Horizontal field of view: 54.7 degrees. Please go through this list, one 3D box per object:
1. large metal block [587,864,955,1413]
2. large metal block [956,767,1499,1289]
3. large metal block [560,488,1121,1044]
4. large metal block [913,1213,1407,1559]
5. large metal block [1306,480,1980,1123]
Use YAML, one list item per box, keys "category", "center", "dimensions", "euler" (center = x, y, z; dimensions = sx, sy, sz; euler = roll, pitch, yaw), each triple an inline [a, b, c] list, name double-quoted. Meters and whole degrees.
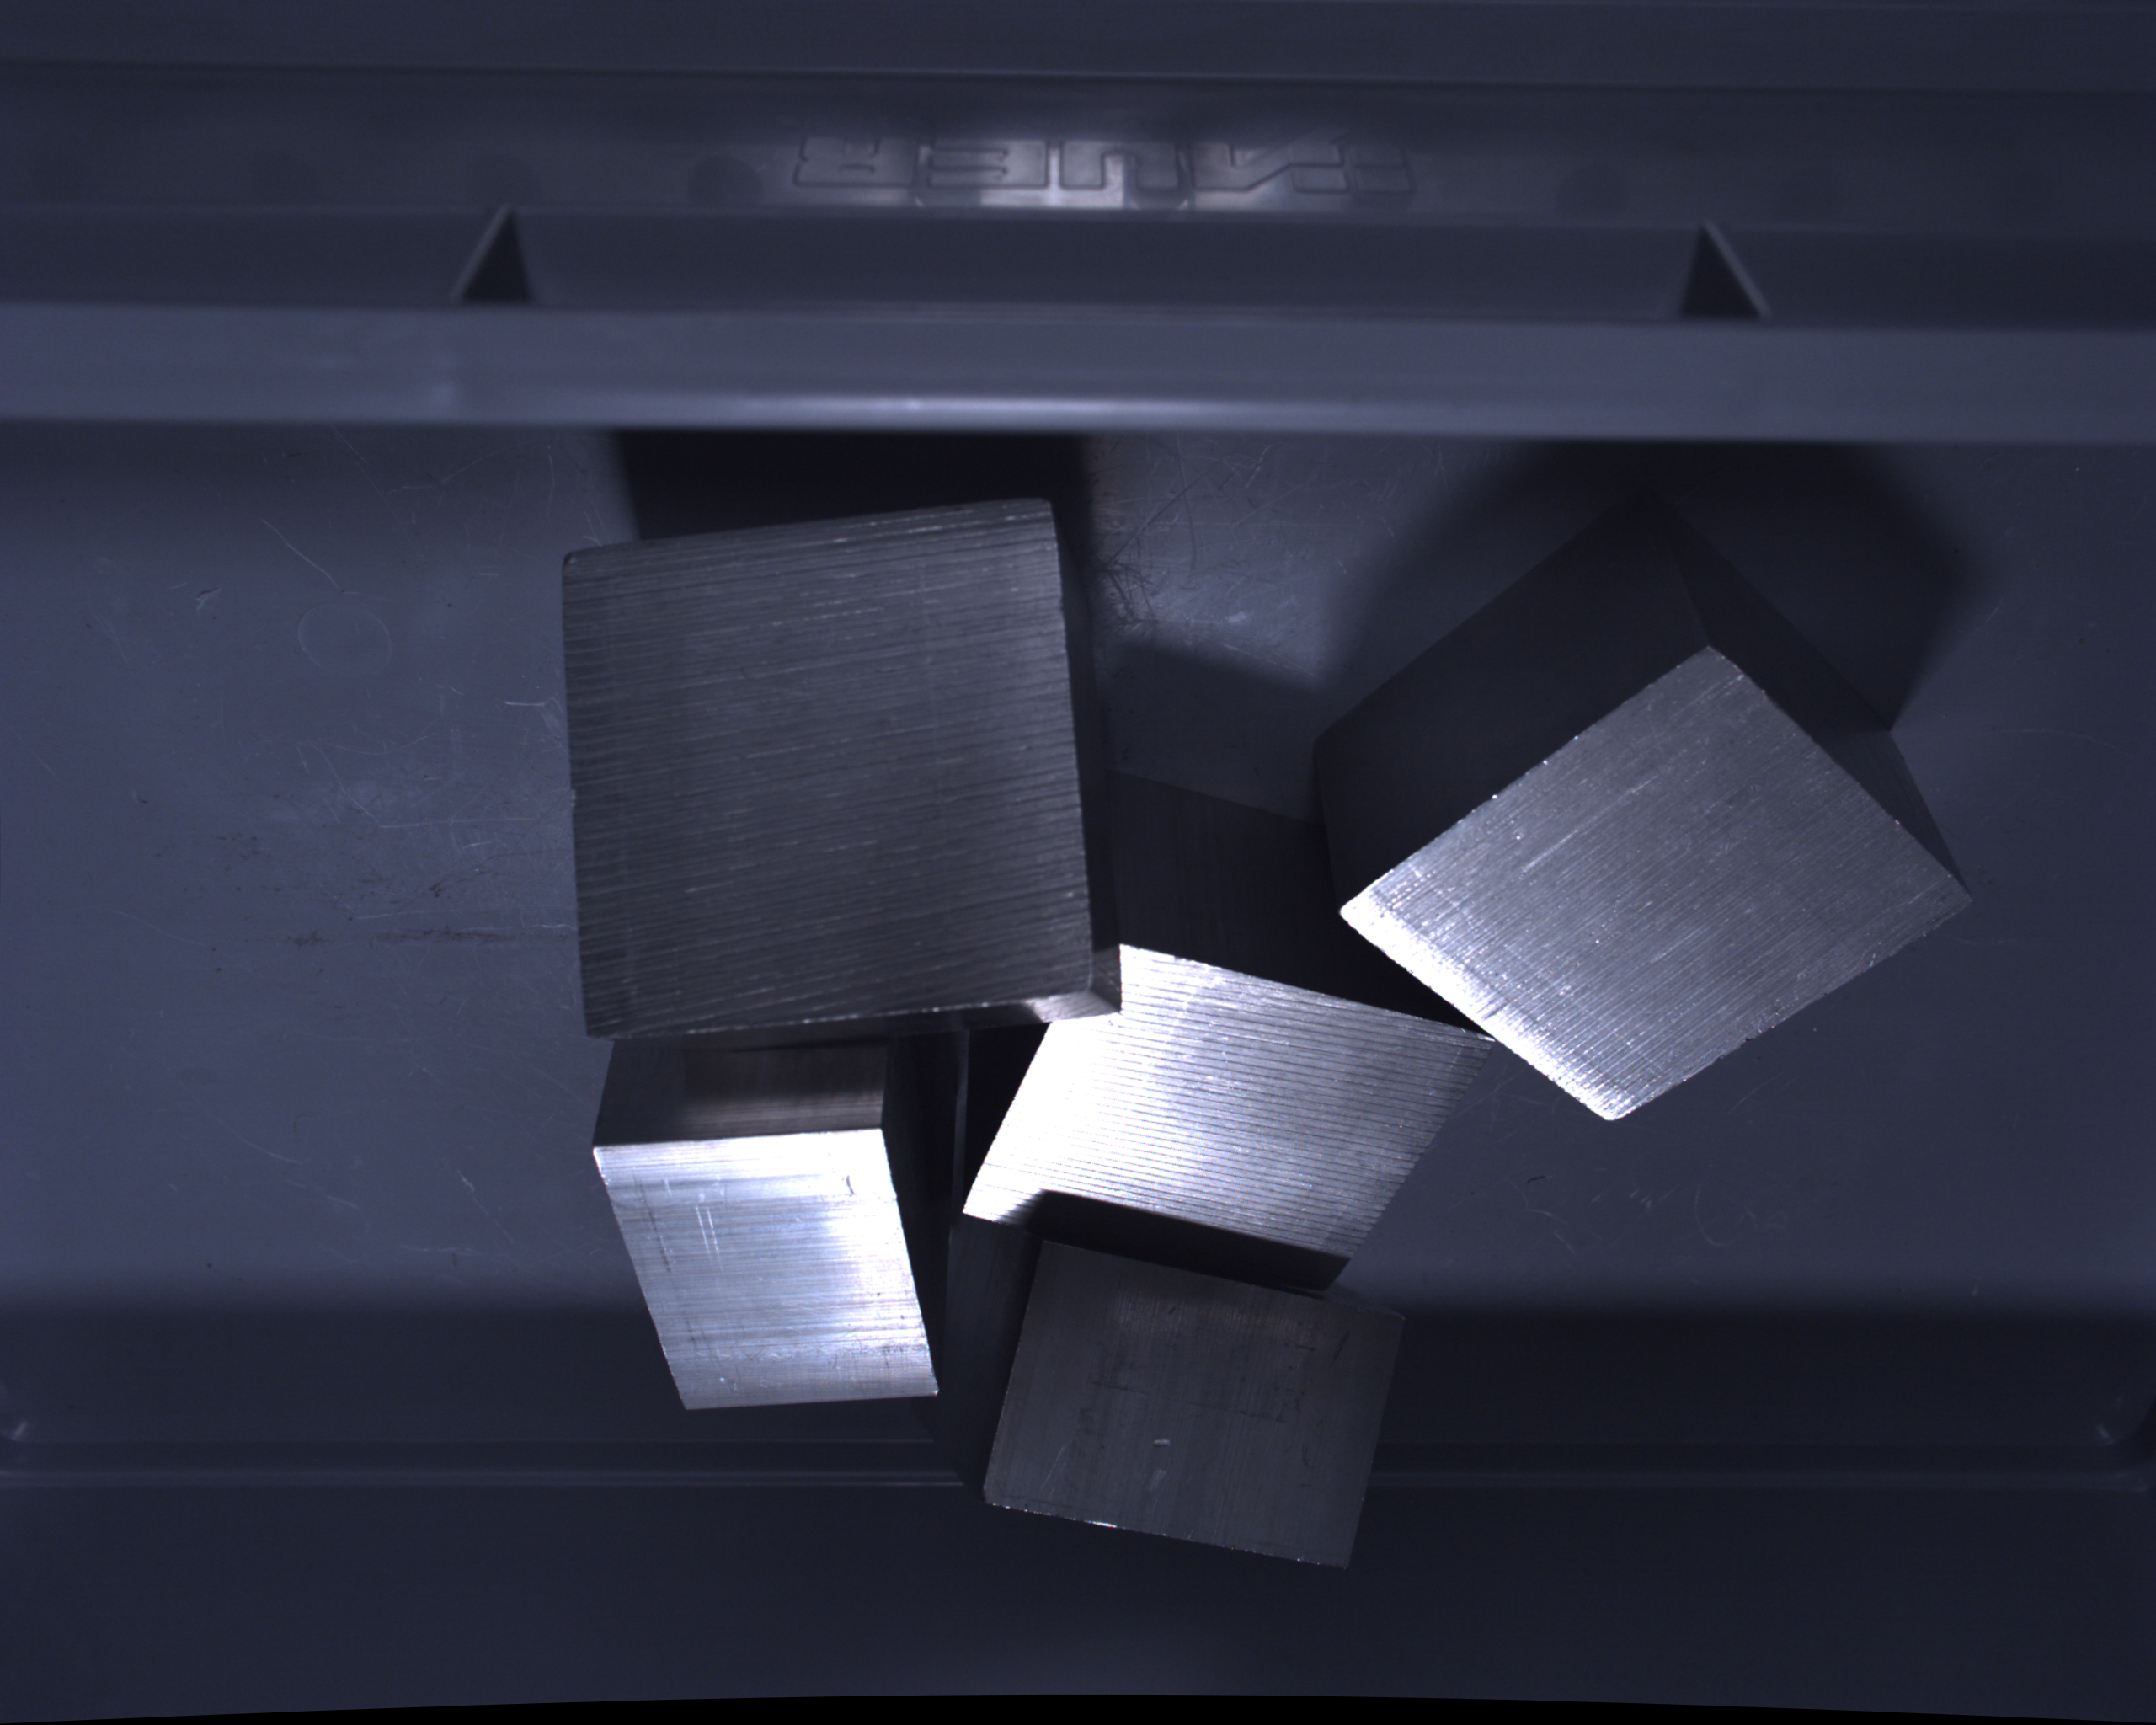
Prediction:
- category: "large metal block"
  center: [-0.056, 0.051, 0.414]
  dimensions: [0.050, 0.080, 0.080]
  euler: [-4, 130, 3]
- category: "large metal block"
  center: [0.027, 0.035, 0.422]
  dimensions: [0.081, 0.050, 0.079]
  euler: [15, 129, -13]
- category: "large metal block"
  center: [-0.038, -0.013, 0.352]
  dimensions: [0.080, 0.080, 0.050]
  euler: [-5, 172, 5]
- category: "large metal block"
  center: [0.014, 0.108, 0.455]
  dimensions: [0.081, 0.080, 0.050]
  euler: [14, 86, -14]
- category: "large metal block"
  center: [0.101, -0.009, 0.385]
  dimensions: [0.080, 0.050, 0.080]
  euler: [36, 121, -27]
